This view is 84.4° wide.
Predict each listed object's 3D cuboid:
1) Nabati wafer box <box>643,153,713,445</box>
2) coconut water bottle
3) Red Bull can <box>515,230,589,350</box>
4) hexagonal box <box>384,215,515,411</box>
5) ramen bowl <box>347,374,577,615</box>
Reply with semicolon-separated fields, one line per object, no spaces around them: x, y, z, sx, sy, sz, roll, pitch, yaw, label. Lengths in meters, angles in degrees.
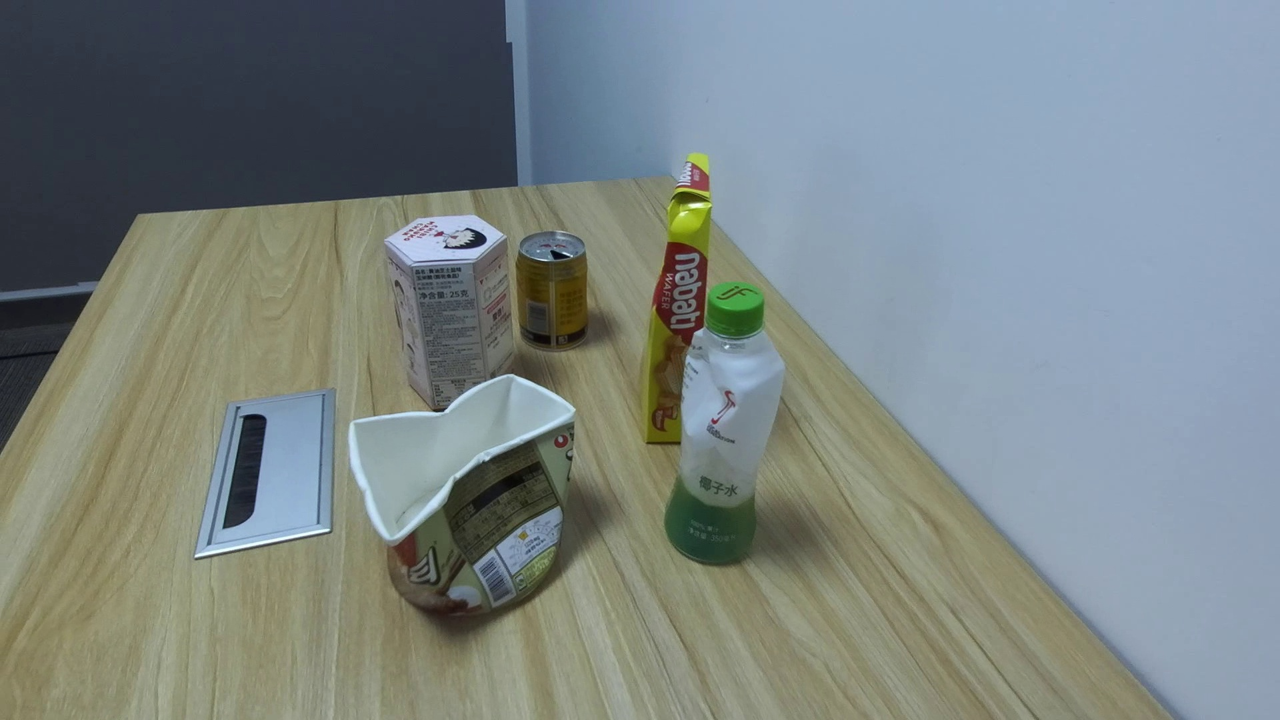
0.029;-0.045;0.536;0.042;0.205;0.113;3;36;-3;Nabati wafer box
0.052;0.041;0.432;0.069;0.187;0.069;2;36;-1;coconut water bottle
-0.081;-0.064;0.656;0.068;0.093;0.068;2;33;-1;Red Bull can
-0.150;-0.038;0.572;0.083;0.136;0.091;14;37;15;hexagonal box
-0.101;0.083;0.443;0.129;0.093;0.111;-18;41;-26;ramen bowl
